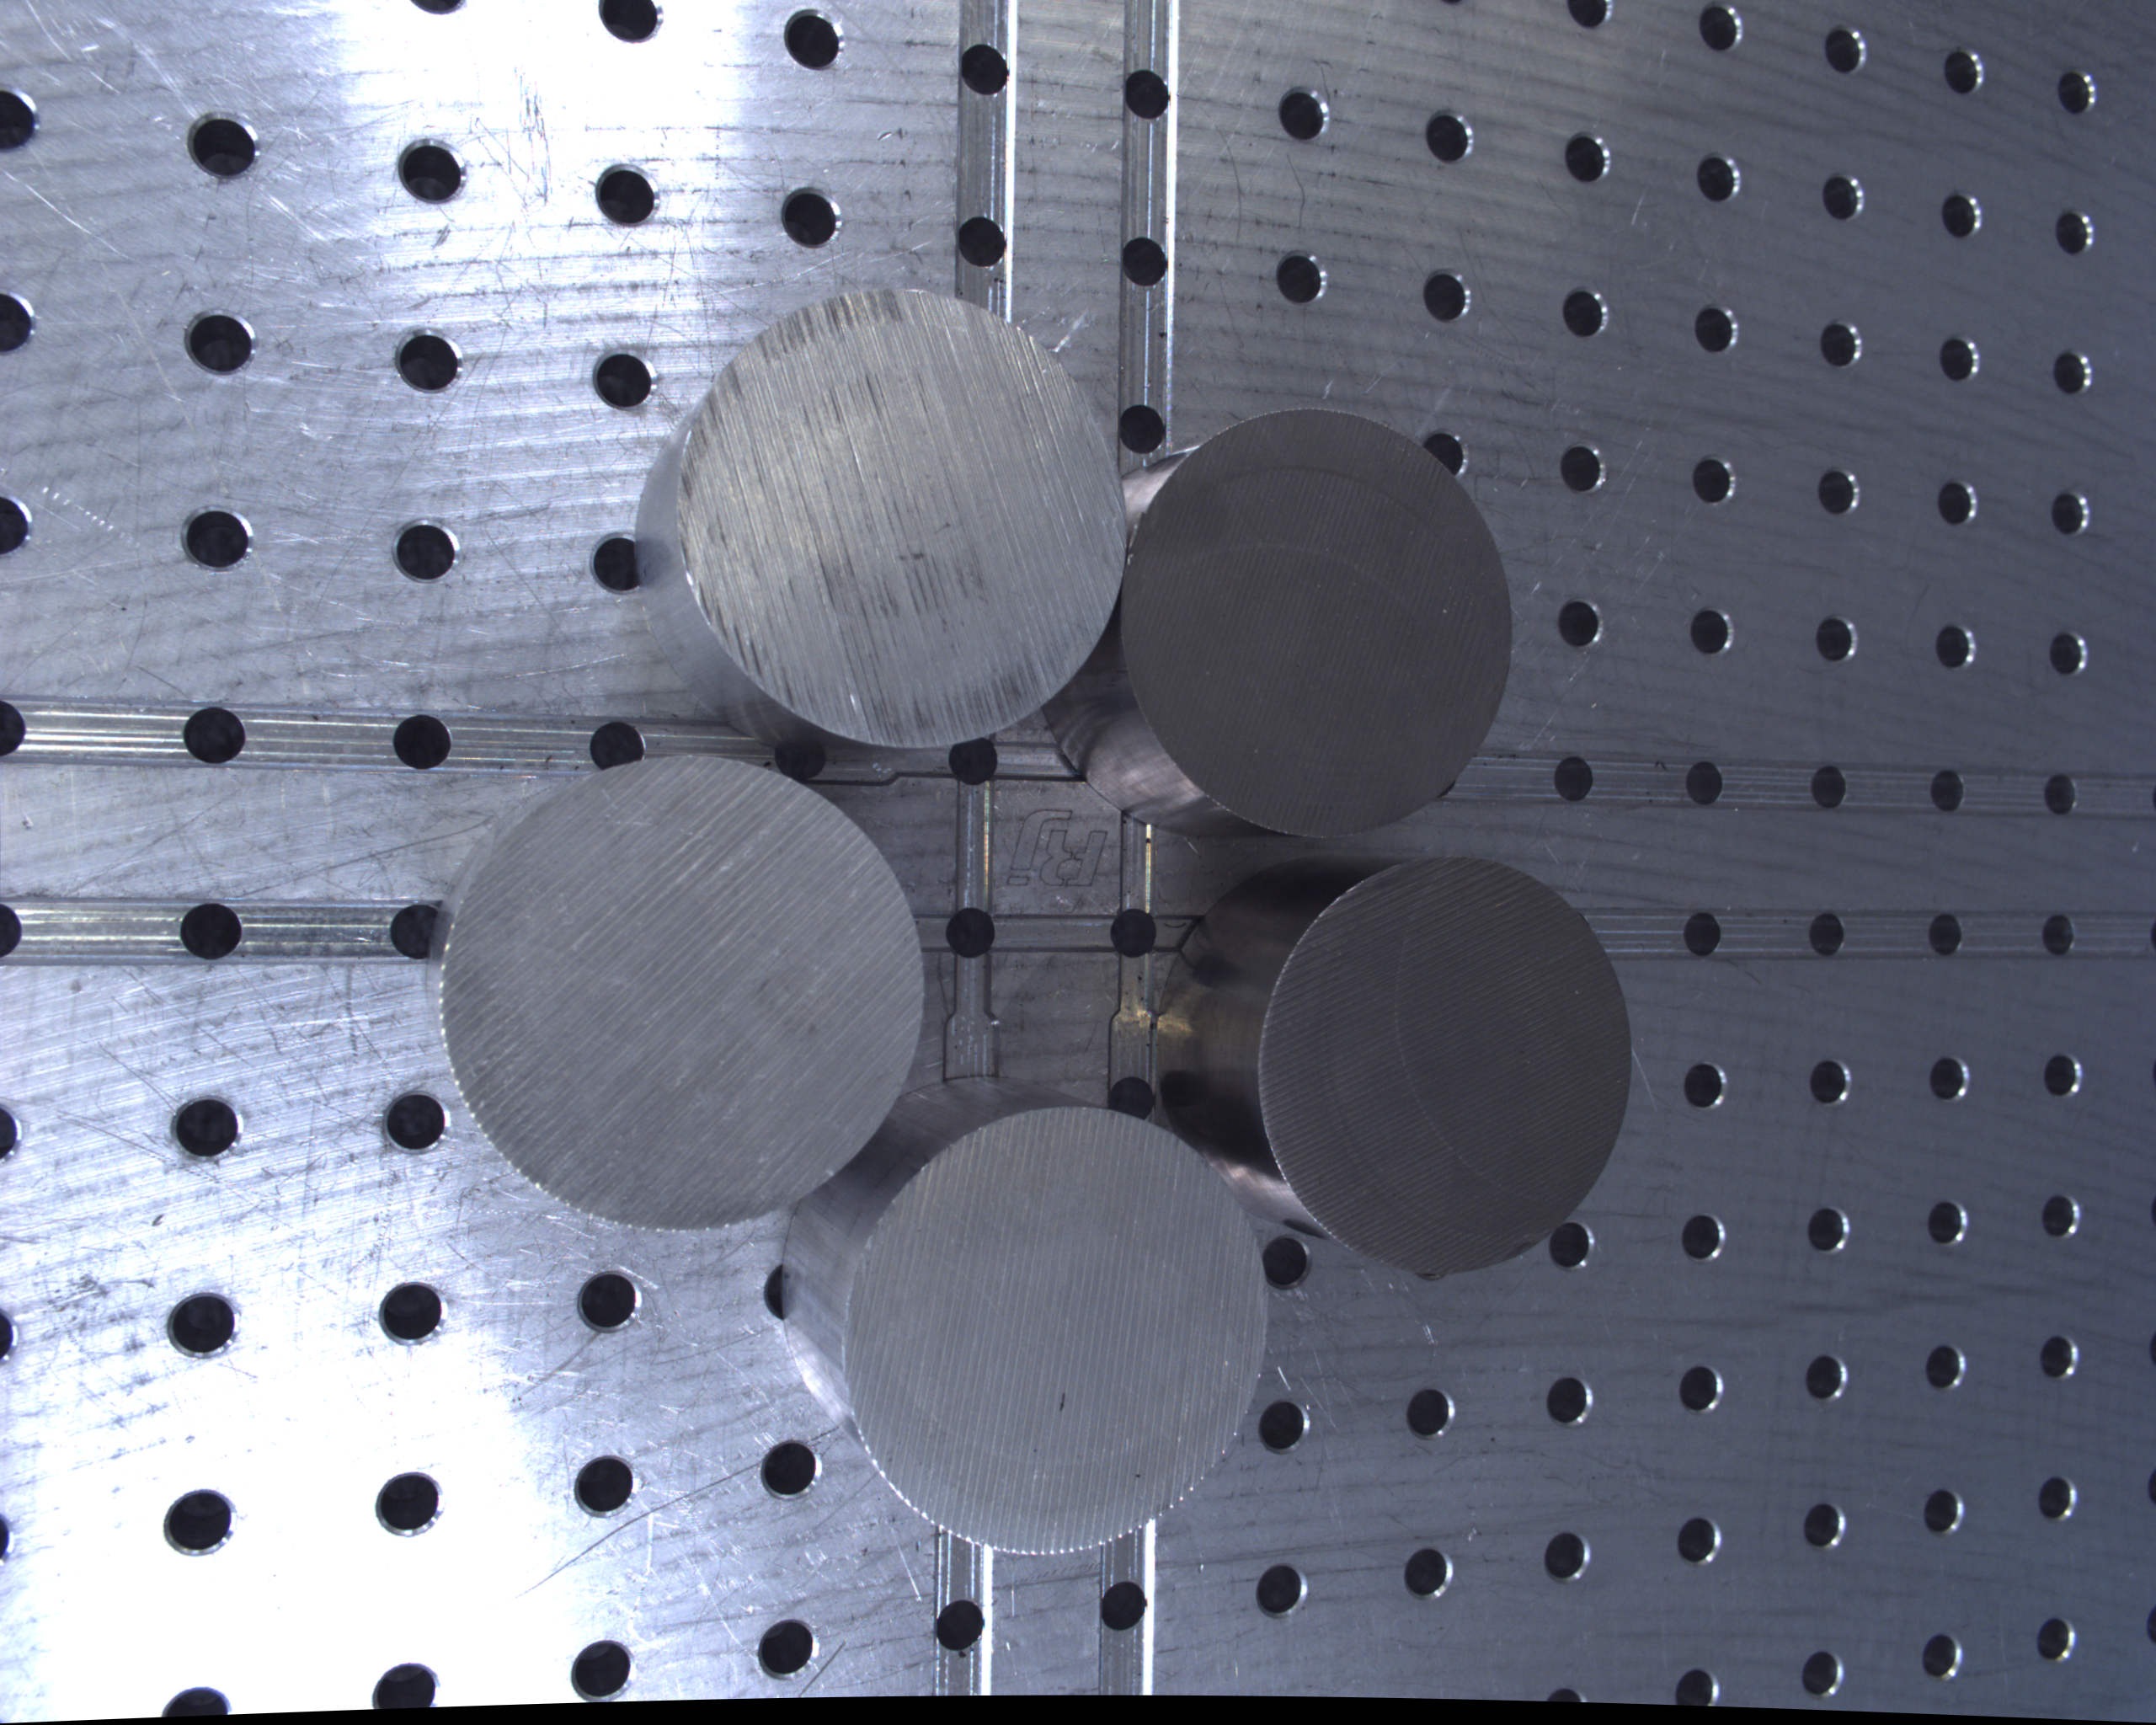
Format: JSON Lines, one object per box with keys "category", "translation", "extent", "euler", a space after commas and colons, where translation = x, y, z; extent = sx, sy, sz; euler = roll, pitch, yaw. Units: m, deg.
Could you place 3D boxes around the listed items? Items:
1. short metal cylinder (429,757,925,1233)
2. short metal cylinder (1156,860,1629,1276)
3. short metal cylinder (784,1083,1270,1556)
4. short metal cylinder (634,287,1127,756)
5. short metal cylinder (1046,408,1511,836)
{"category": "short metal cylinder", "translation": [-0.073, 0.022, 0.372], "extent": [0.081, 0.050, 0.079], "euler": [0, 91, -20]}
{"category": "short metal cylinder", "translation": [0.062, 0.039, 0.421], "extent": [0.081, 0.050, 0.079], "euler": [-1, 92, -20]}
{"category": "short metal cylinder", "translation": [-0.011, 0.083, 0.394], "extent": [0.081, 0.050, 0.080], "euler": [0, 90, -19]}
{"category": "short metal cylinder", "translation": [-0.038, -0.060, 0.385], "extent": [0.081, 0.050, 0.079], "euler": [0, 90, -20]}
{"category": "short metal cylinder", "translation": [0.037, -0.045, 0.412], "extent": [0.081, 0.050, 0.079], "euler": [0, 90, -20]}
